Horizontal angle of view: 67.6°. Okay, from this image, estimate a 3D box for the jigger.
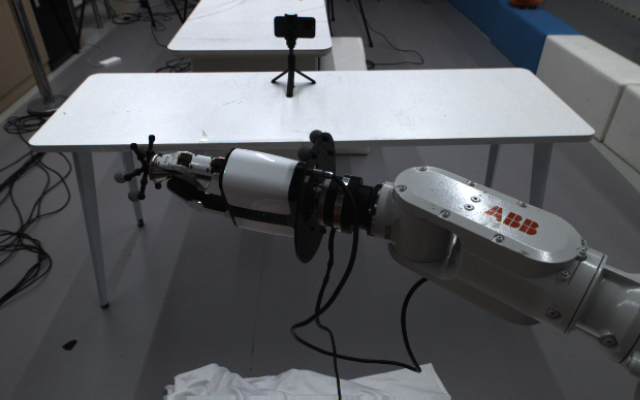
[{"bbox_3d":[-0.176,-0.041,0.632,0.071,0.043,0.043,7,35,14],"label":"jigger"}]
